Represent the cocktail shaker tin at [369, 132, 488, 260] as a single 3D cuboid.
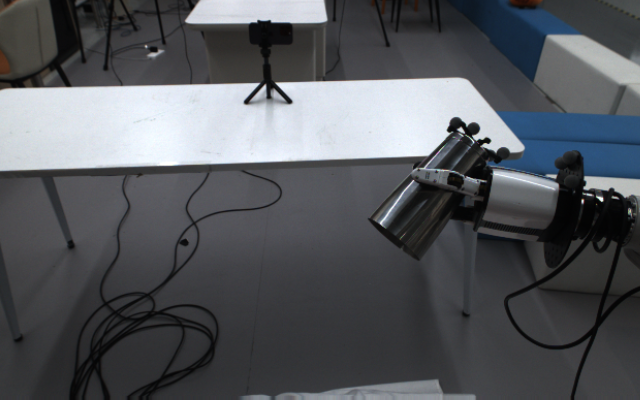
[{"bbox_3d":[0.157,-0.014,0.676,0.170,0.093,0.093,-48,49,-4],"label":"cocktail shaker tin"}]
